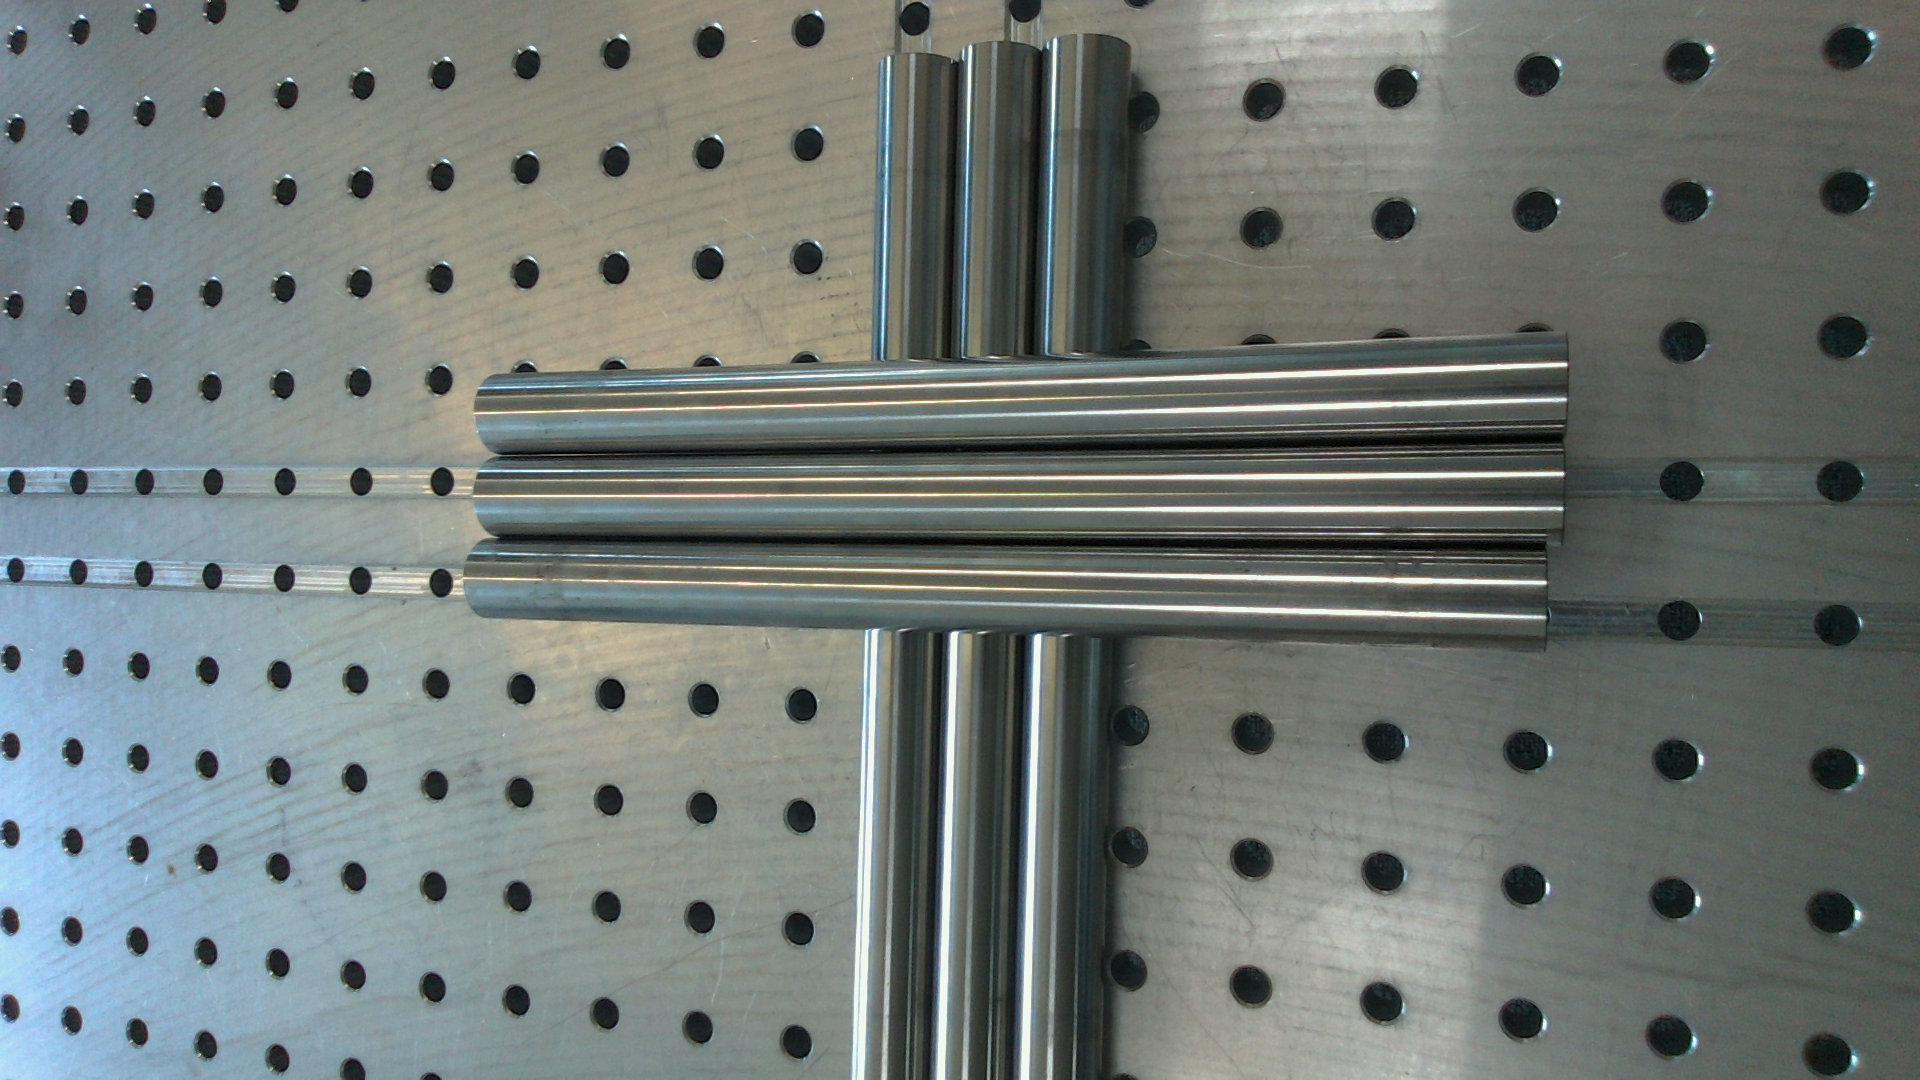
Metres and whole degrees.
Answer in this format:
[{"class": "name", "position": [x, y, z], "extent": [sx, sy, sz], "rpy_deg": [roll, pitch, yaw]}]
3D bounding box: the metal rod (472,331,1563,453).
[{"class": "metal rod", "position": [-0.001, -0.037, 0.372], "extent": [0.299, 0.025, 0.025], "rpy_deg": [1, 90, 20]}]

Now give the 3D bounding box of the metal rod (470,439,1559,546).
[{"class": "metal rod", "position": [-0.001, -0.012, 0.372], "extent": [0.299, 0.025, 0.025], "rpy_deg": [1, 90, 20]}]

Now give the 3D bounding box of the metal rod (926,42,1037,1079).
[{"class": "metal rod", "position": [0.007, 0.012, 0.396], "extent": [0.025, 0.025, 0.300], "rpy_deg": [2, 91, 20]}]

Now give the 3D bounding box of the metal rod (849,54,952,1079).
[{"class": "metal rod", "position": [-0.016, 0.012, 0.404], "extent": [0.025, 0.025, 0.300], "rpy_deg": [2, 91, 20]}]

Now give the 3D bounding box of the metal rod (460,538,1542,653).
[{"class": "metal rod", "position": [-0.005, 0.013, 0.373], "extent": [0.299, 0.025, 0.025], "rpy_deg": [1, 90, 20]}]

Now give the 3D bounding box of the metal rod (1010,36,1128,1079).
[{"class": "metal rod", "position": [0.030, 0.013, 0.388], "extent": [0.025, 0.025, 0.300], "rpy_deg": [2, 91, 20]}]
